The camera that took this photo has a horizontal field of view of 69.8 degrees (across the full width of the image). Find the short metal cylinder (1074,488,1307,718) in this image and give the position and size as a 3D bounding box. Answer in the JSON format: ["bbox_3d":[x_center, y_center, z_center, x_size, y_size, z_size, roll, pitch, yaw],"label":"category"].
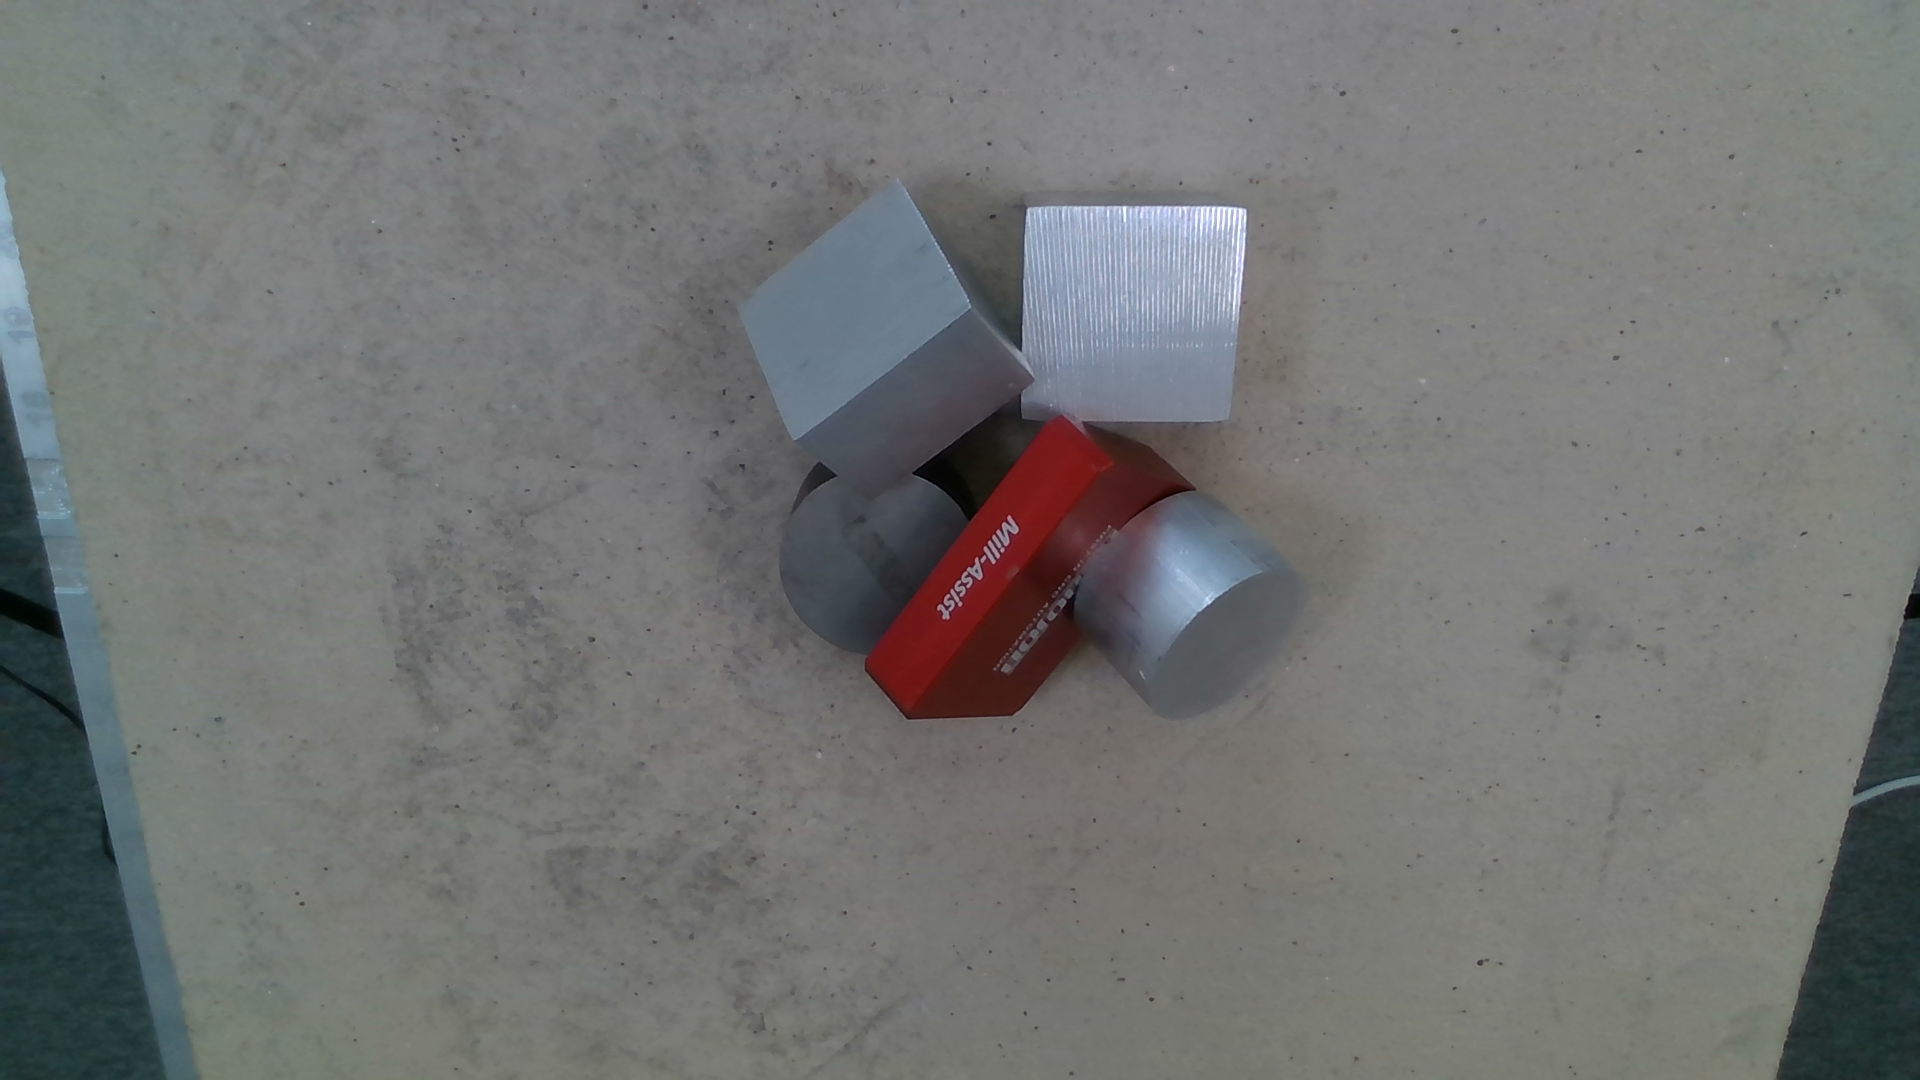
[{"bbox_3d":[0.093,0.026,0.560,0.080,0.050,0.080,-25,142,-21],"label":"short metal cylinder"}]

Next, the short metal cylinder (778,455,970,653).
[{"bbox_3d":[-0.033,0.001,0.573,0.080,0.050,0.080,0,110,0],"label":"short metal cylinder"}]

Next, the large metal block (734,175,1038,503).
[{"bbox_3d":[-0.030,-0.075,0.520,0.080,0.080,0.050,-35,142,12],"label":"large metal block"}]

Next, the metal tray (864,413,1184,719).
[{"bbox_3d":[0.029,0.015,0.557,0.030,0.090,0.130,46,108,27],"label":"metal tray"}]

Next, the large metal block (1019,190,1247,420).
[{"bbox_3d":[0.063,-0.092,0.535,0.080,0.050,0.080,1,110,0],"label":"large metal block"}]
